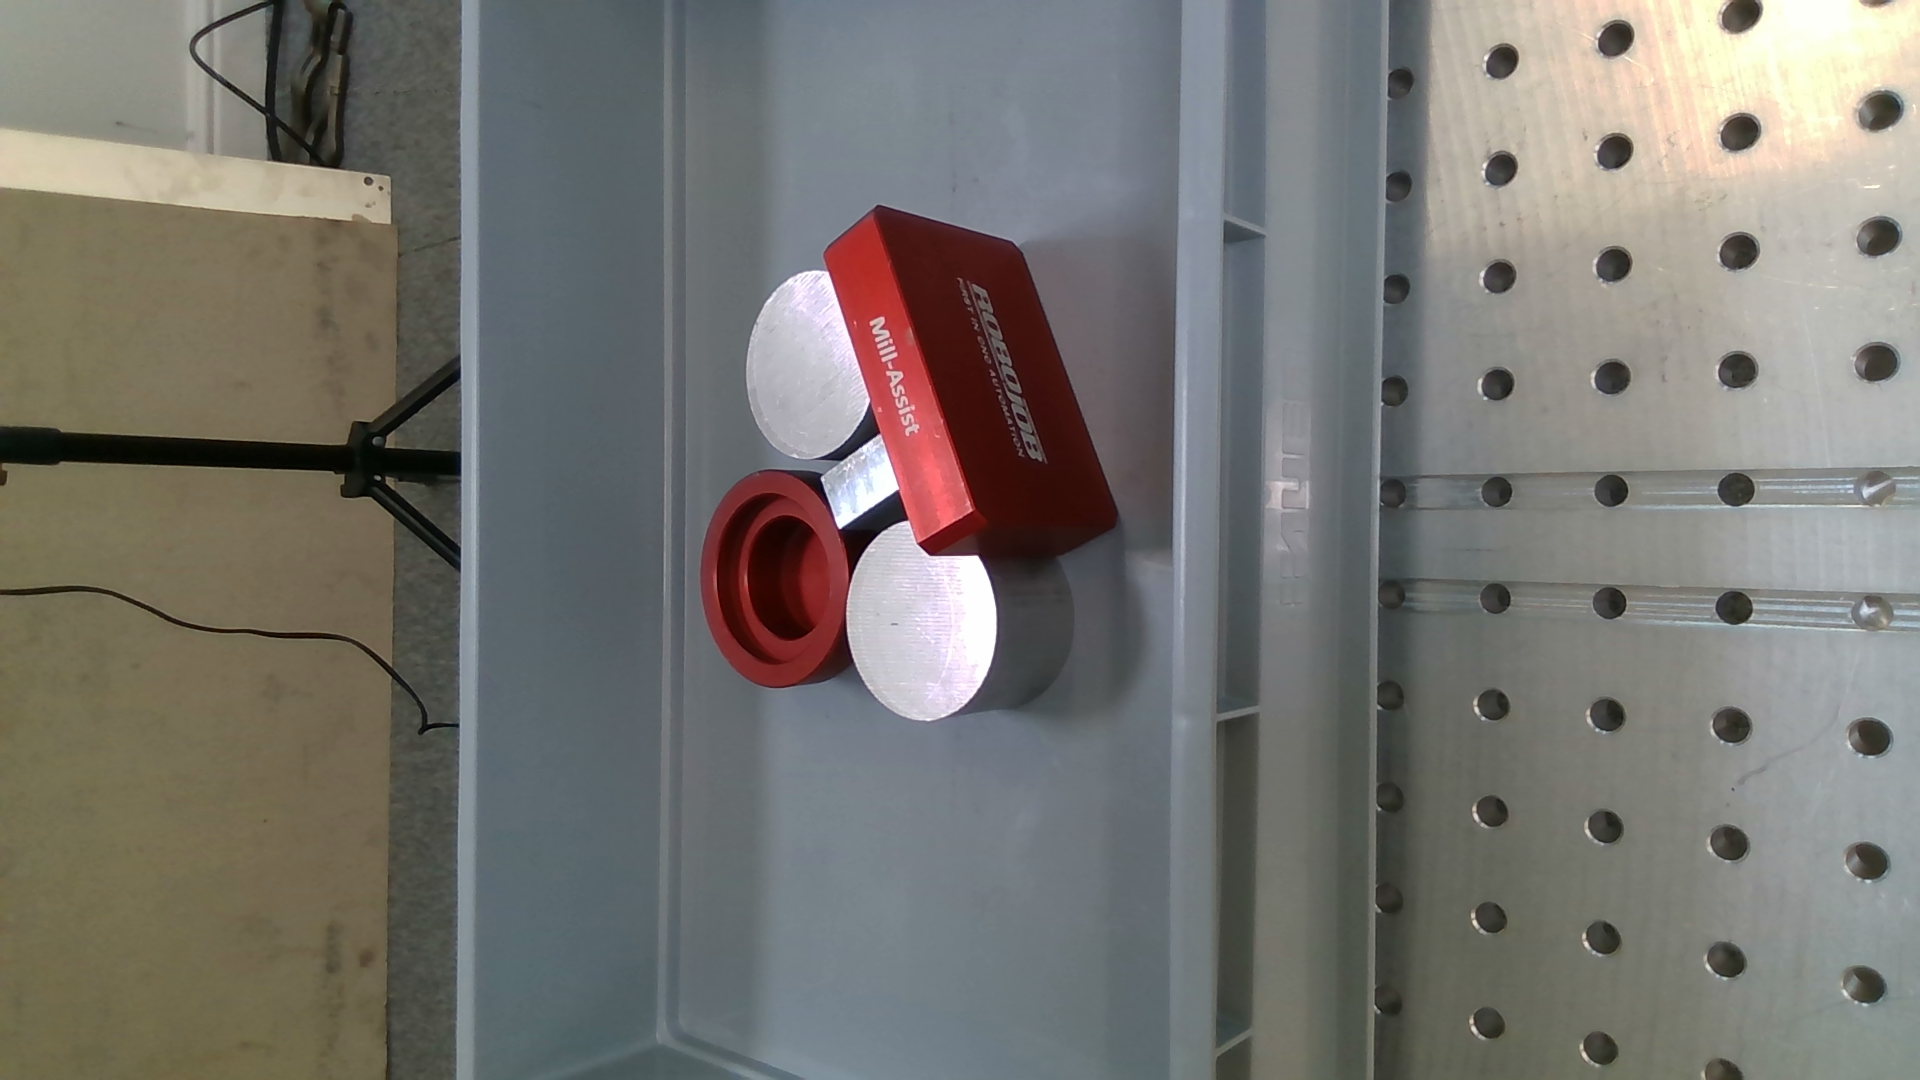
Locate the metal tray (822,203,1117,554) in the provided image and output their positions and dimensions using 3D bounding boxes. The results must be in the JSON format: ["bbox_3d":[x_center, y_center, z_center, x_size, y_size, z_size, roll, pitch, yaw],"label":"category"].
[{"bbox_3d":[0.005,-0.060,0.532,0.030,0.090,0.130,-30,71,36],"label":"metal tray"}]

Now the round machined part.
[{"bbox_3d":[-0.072,0.017,0.630,0.098,0.042,0.098,0,91,40],"label":"round machined part"}]

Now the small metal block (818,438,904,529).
[{"bbox_3d":[-0.022,-0.026,0.582,0.050,0.050,0.025,-32,70,36],"label":"small metal block"}]

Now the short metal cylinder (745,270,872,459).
[{"bbox_3d":[-0.049,-0.075,0.605,0.080,0.050,0.080,0,91,40],"label":"short metal cylinder"}]

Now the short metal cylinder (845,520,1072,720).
[{"bbox_3d":[-0.001,0.031,0.566,0.080,0.050,0.080,0,91,40],"label":"short metal cylinder"}]
